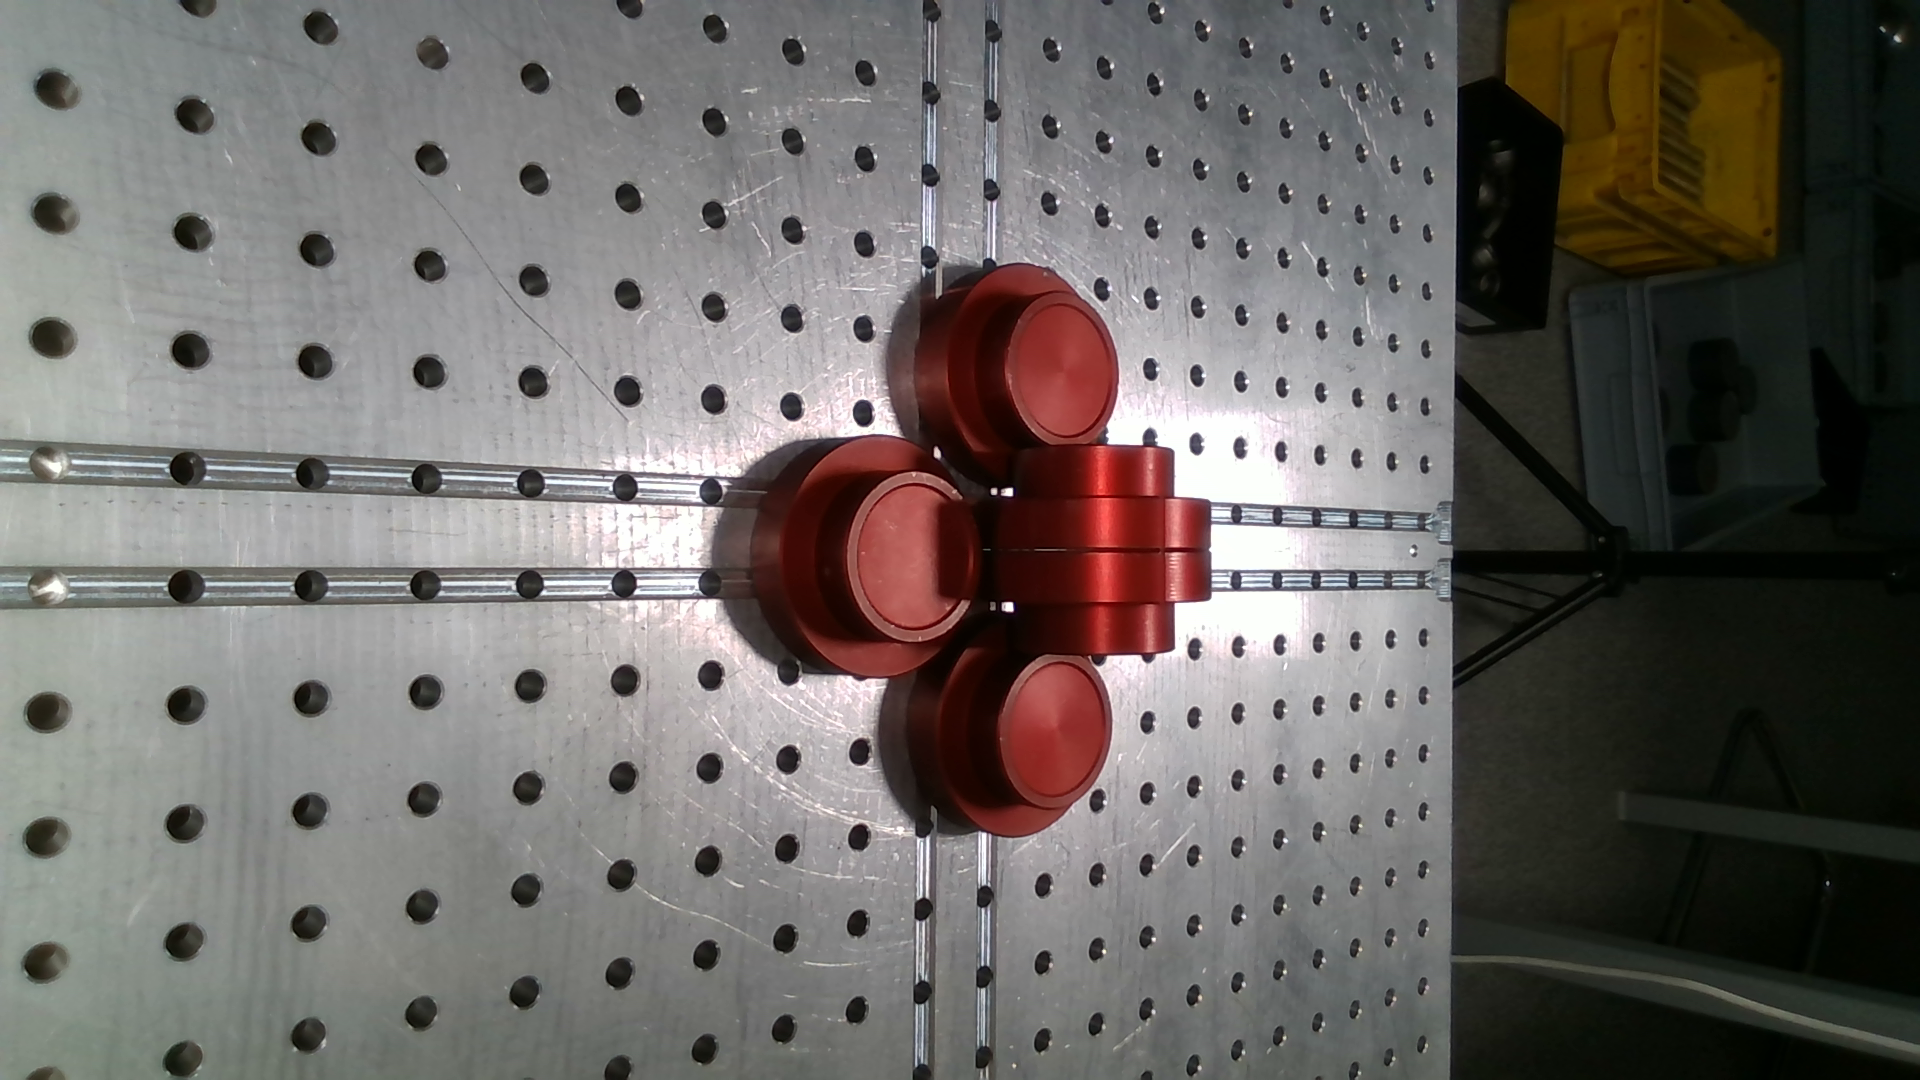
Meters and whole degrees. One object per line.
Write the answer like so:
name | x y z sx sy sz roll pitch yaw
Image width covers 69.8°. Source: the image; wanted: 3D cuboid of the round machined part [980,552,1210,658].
round machined part | 0.056 0.026 0.579 0.098 0.098 0.042 -1 90 -40

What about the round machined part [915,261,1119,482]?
round machined part | 0.031 -0.073 0.601 0.098 0.042 0.098 0 90 -40

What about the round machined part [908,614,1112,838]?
round machined part | 0.028 0.080 0.598 0.098 0.042 0.098 0 90 -40

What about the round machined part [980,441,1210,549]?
round machined part | 0.056 -0.018 0.578 0.098 0.098 0.042 2 89 -40

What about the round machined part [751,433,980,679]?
round machined part | -0.031 0.006 0.549 0.098 0.042 0.098 0 90 -40
